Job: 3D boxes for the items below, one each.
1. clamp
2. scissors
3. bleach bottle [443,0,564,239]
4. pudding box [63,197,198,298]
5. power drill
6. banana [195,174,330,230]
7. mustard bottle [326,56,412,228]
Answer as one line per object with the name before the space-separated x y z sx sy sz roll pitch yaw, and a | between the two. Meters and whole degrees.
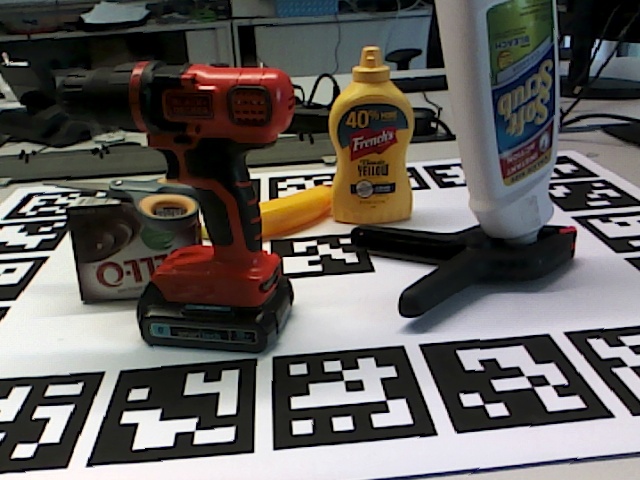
clamp | 0.143 0.003 0.583 0.202 0.036 0.166 -6 27 -10
scissors | -0.185 -0.055 0.560 0.203 0.016 0.087 11 32 18
bleach bottle | 0.172 -0.101 0.556 0.102 0.250 0.068 -19 24 -16
pudding box | -0.173 0.006 0.580 0.114 0.090 0.039 -2 18 1
power drill | -0.111 -0.033 0.475 0.185 0.186 0.057 -1 17 11
banana | -0.051 -0.048 0.733 0.196 0.039 0.075 -24 15 -38
mustard bottle | 0.055 -0.108 0.698 0.096 0.191 0.058 3 25 9
